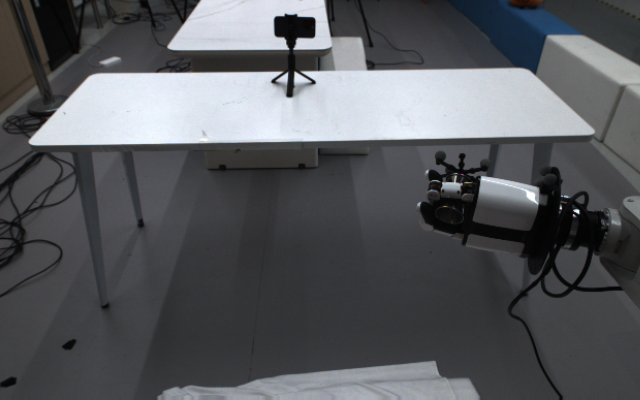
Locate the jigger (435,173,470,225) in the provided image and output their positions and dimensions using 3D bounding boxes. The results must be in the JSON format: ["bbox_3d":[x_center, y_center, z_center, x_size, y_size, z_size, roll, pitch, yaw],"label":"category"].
[{"bbox_3d":[0.208,-0.004,0.741,0.043,0.043,0.071,13,58,15],"label":"jigger"}]
